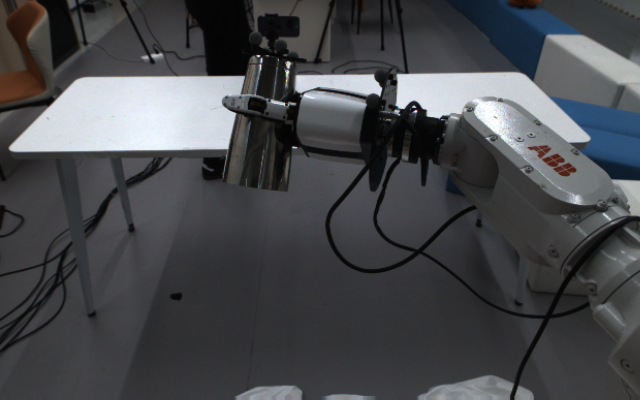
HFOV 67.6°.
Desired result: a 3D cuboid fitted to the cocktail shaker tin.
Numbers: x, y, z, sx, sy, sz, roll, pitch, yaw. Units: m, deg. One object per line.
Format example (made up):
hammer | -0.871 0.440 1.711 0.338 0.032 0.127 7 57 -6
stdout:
cocktail shaker tin | -0.075 -0.102 0.657 0.093 0.170 0.093 9 3 0
